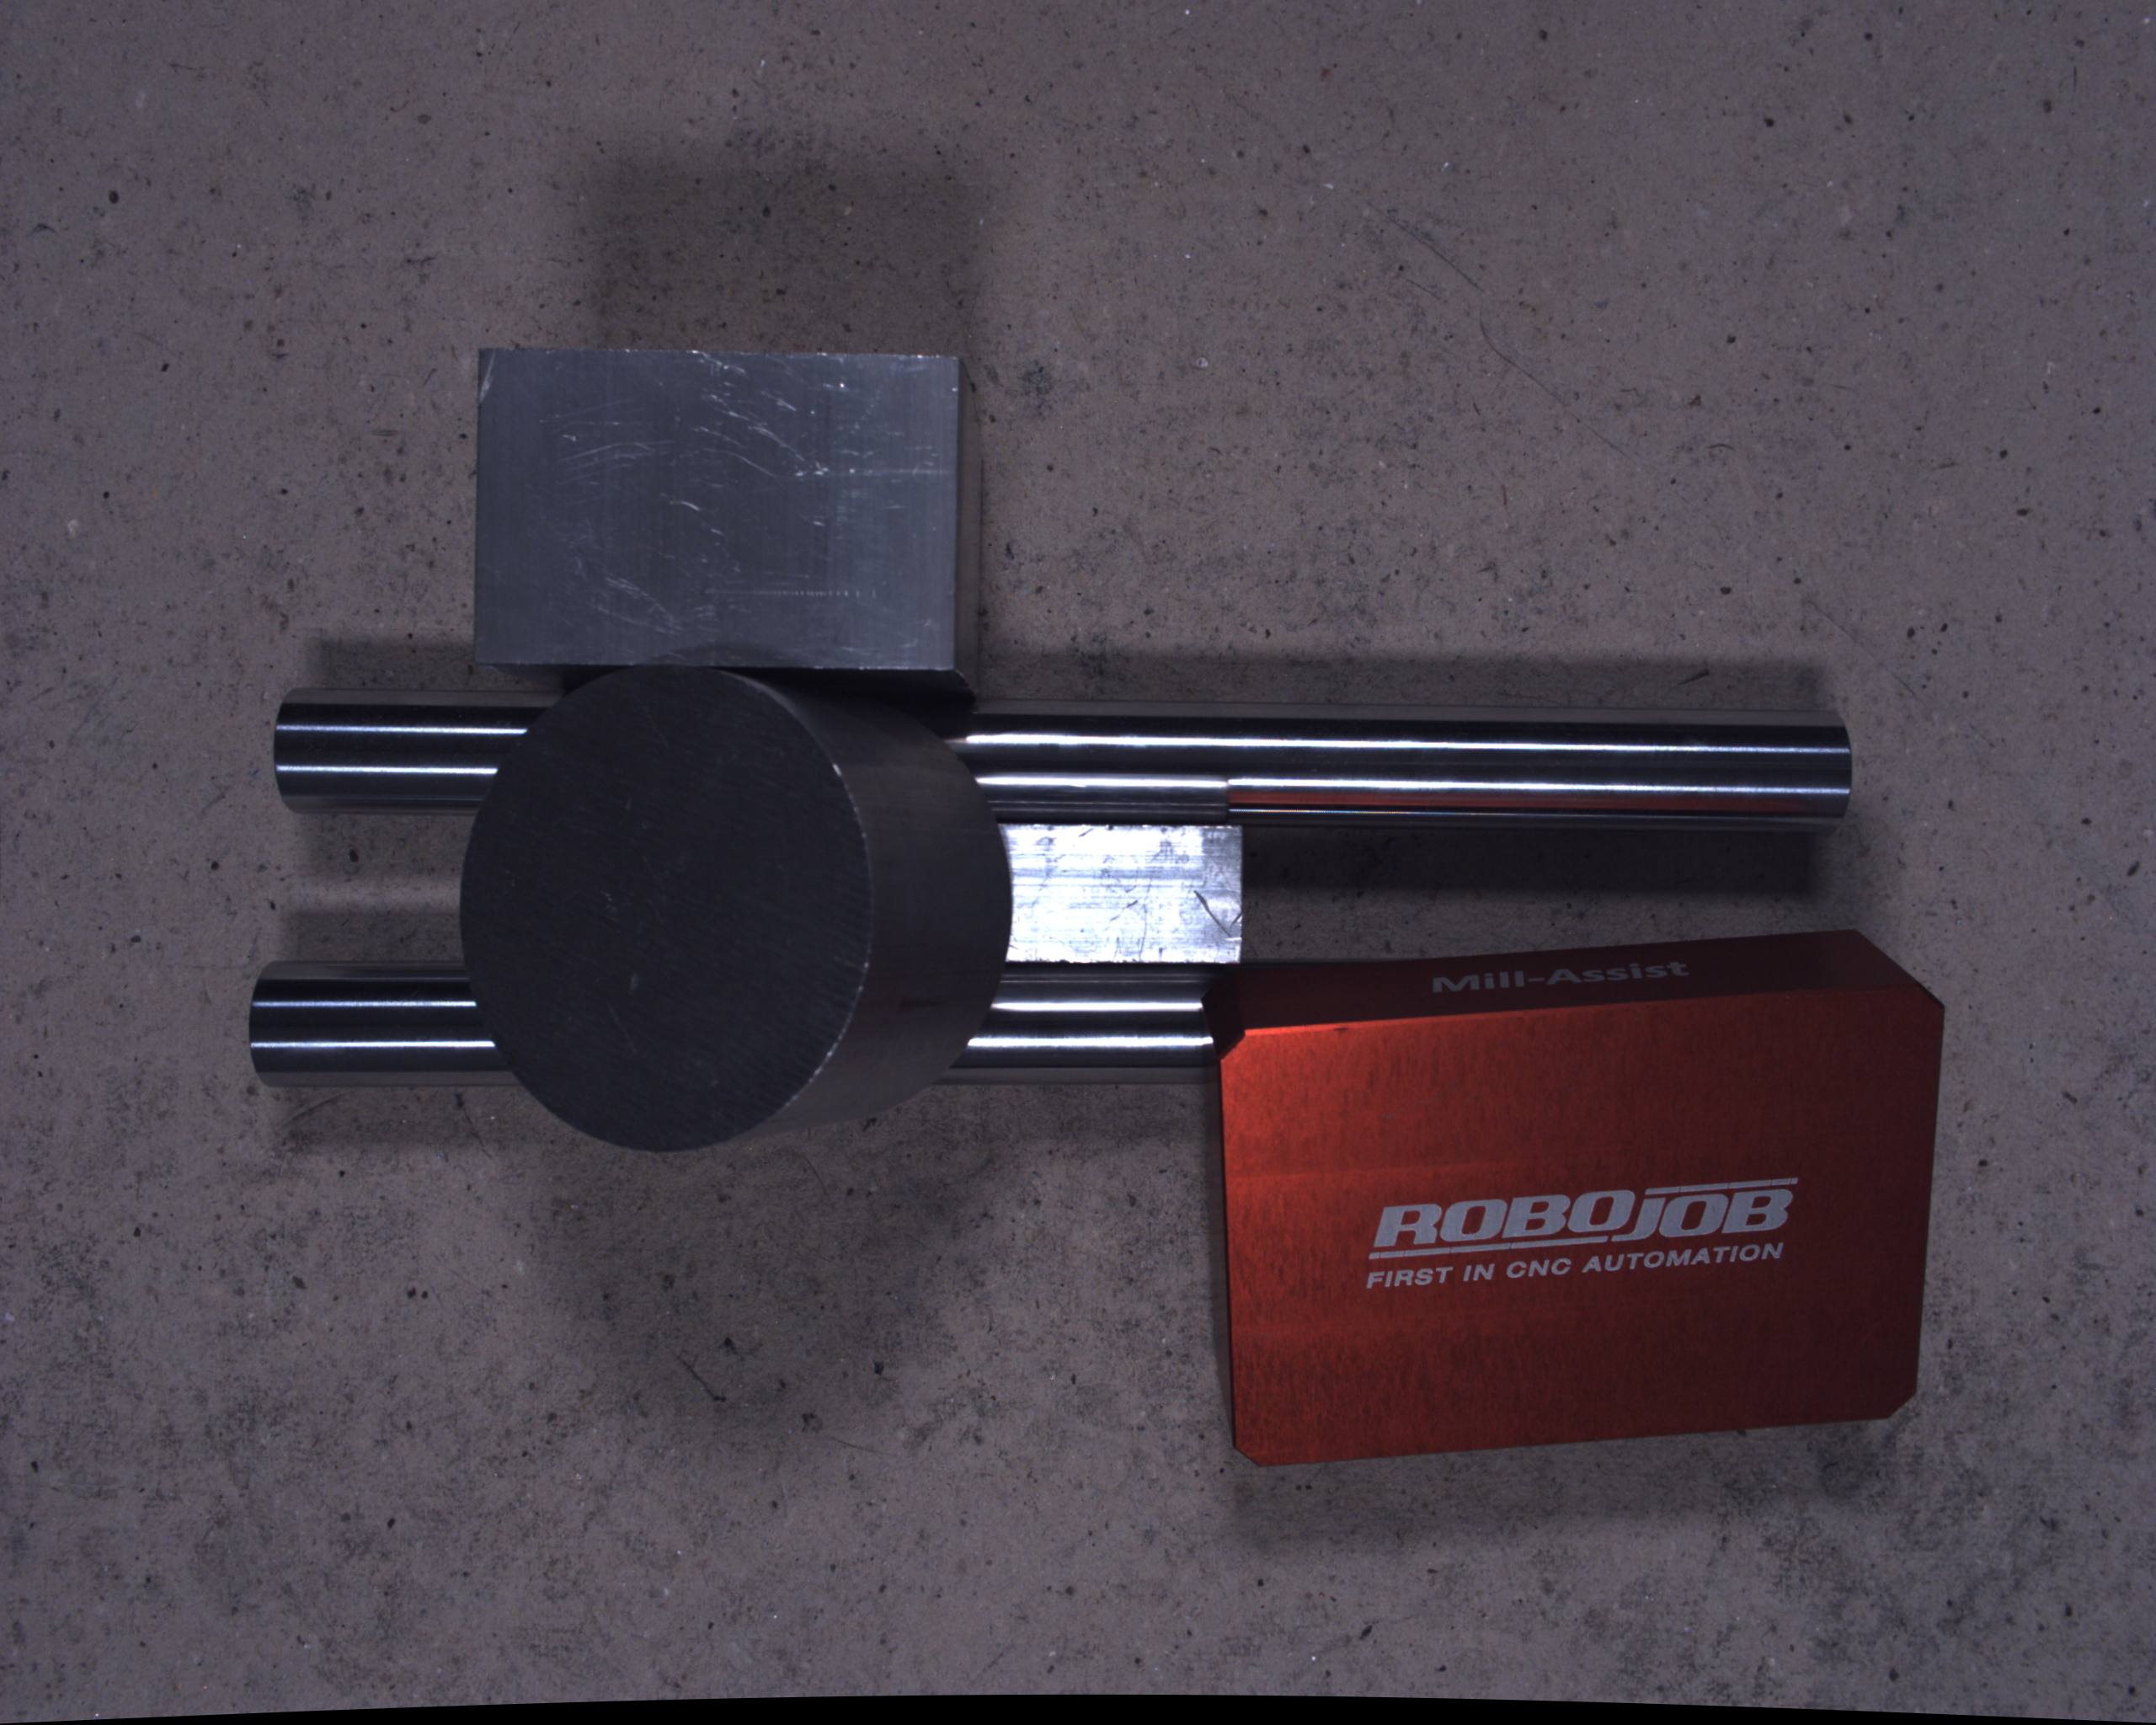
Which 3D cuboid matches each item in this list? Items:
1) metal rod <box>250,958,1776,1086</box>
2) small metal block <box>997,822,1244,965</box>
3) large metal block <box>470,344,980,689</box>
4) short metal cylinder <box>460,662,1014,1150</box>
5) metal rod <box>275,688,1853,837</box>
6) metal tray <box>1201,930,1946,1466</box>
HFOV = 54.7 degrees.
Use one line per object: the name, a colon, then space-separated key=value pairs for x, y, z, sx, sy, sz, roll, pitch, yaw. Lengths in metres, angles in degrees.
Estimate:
metal rod: x=-0.007 y=0.031 z=0.411 sx=0.302 sy=0.025 sz=0.025 roll=0 pitch=90 yaw=-1
small metal block: x=0.004 y=0.005 z=0.398 sx=0.050 sy=0.050 sz=0.025 roll=1 pitch=90 yaw=-1
large metal block: x=-0.060 y=-0.060 z=0.383 sx=0.081 sy=0.080 sz=0.050 roll=1 pitch=90 yaw=-1
short metal cylinder: x=-0.058 y=0.008 z=0.362 sx=0.080 sy=0.050 sz=0.080 roll=-1 pitch=88 yaw=23
metal rod: x=-0.002 y=-0.020 z=0.411 sx=0.302 sy=0.025 sz=0.025 roll=1 pitch=90 yaw=-1
metal tray: x=0.091 y=0.063 z=0.396 sx=0.131 sy=0.030 sz=0.089 roll=-4 pitch=108 yaw=-2
